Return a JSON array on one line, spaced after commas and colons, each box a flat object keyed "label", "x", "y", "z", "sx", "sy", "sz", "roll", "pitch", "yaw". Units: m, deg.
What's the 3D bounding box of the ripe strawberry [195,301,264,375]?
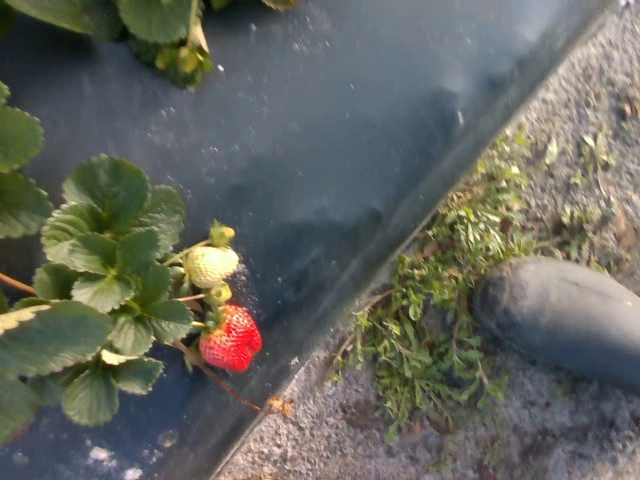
[{"label": "ripe strawberry", "x": -0.063, "y": 0.080, "z": 0.454, "sx": 0.050, "sy": 0.048, "sz": 0.034, "roll": 47, "pitch": -7, "yaw": -34}]
